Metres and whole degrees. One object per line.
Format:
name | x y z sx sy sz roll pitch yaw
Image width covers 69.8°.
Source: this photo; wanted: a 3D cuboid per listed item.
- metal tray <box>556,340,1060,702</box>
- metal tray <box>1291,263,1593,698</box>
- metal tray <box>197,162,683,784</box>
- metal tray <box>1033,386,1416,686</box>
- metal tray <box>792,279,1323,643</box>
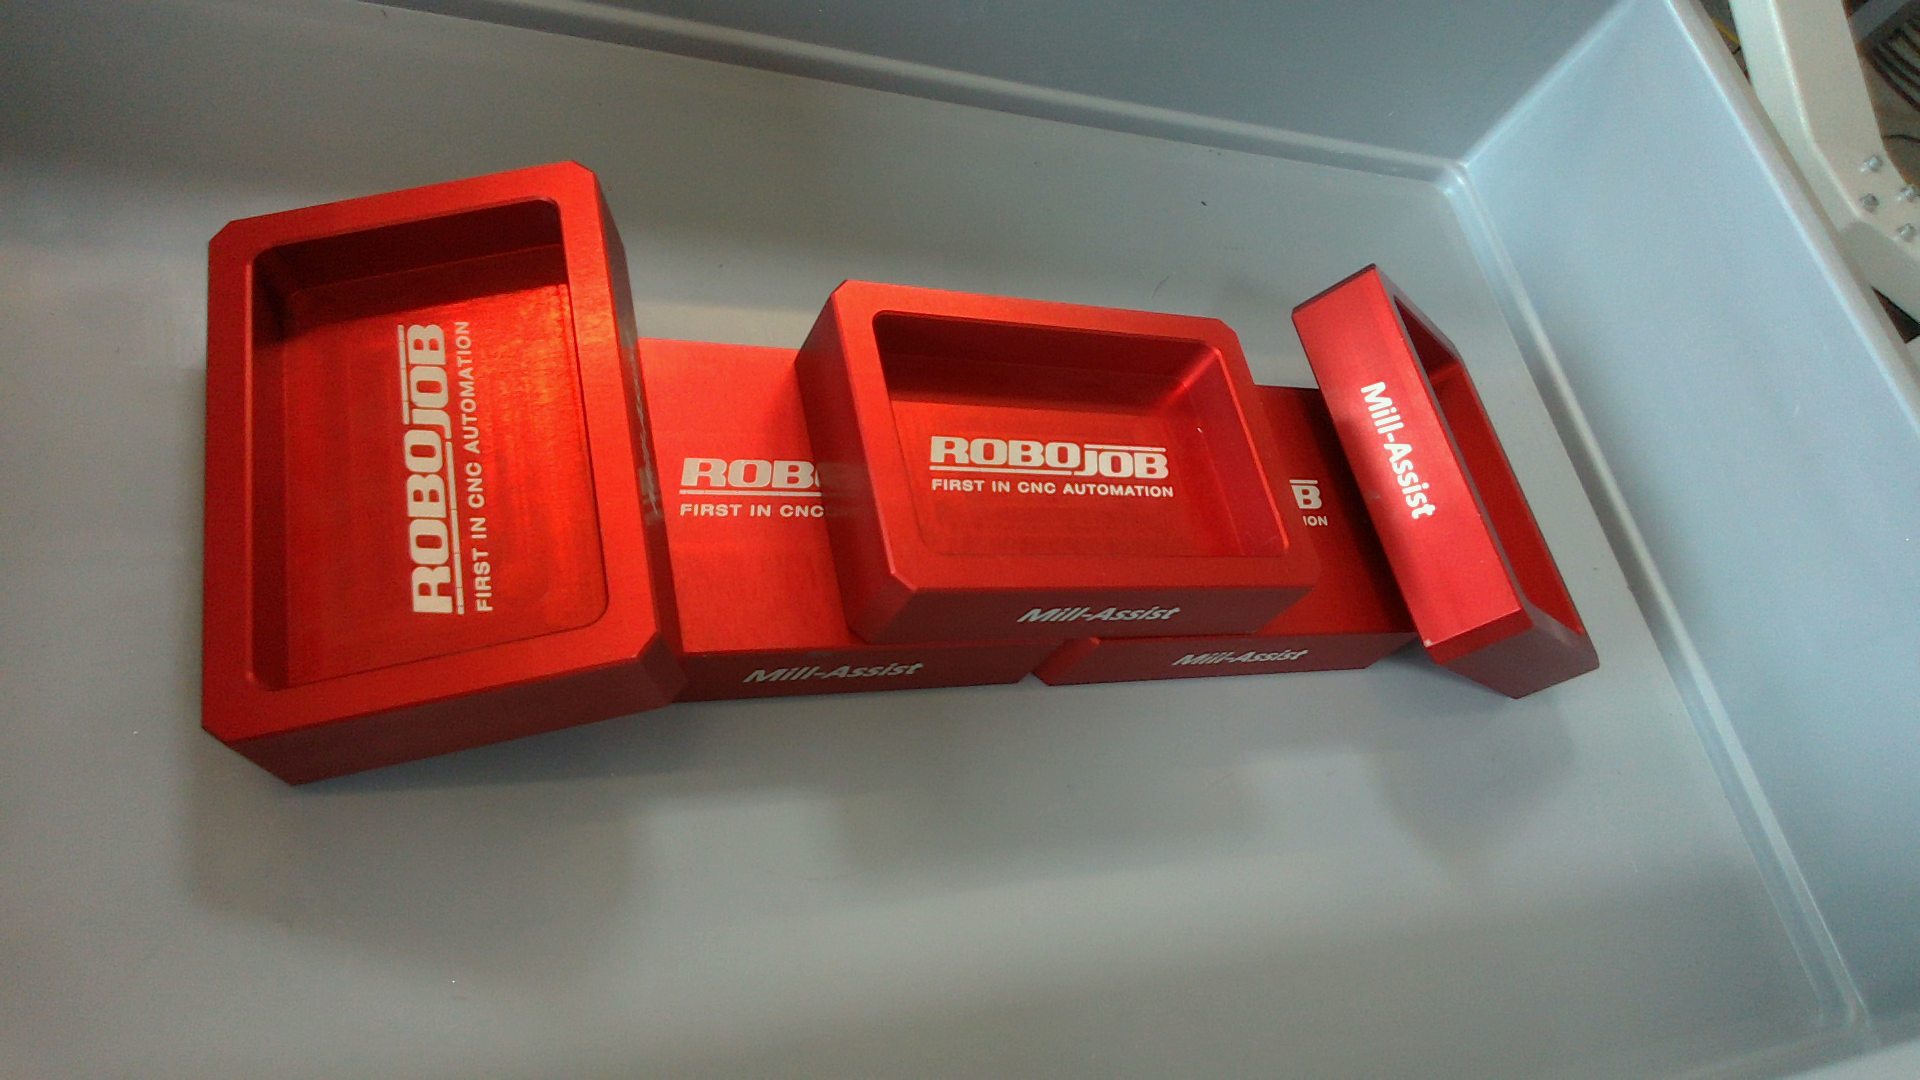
metal tray | -0.042 -0.006 0.367 0.130 0.030 0.090 0 61 -28
metal tray | 0.160 -0.018 0.458 0.090 0.030 0.130 21 47 -51
metal tray | -0.118 -0.019 0.310 0.090 0.030 0.130 -11 65 -5
metal tray | 0.073 -0.004 0.428 0.130 0.030 0.090 0 61 -28
metal tray | 0.027 -0.020 0.373 0.130 0.030 0.090 1 61 -28
